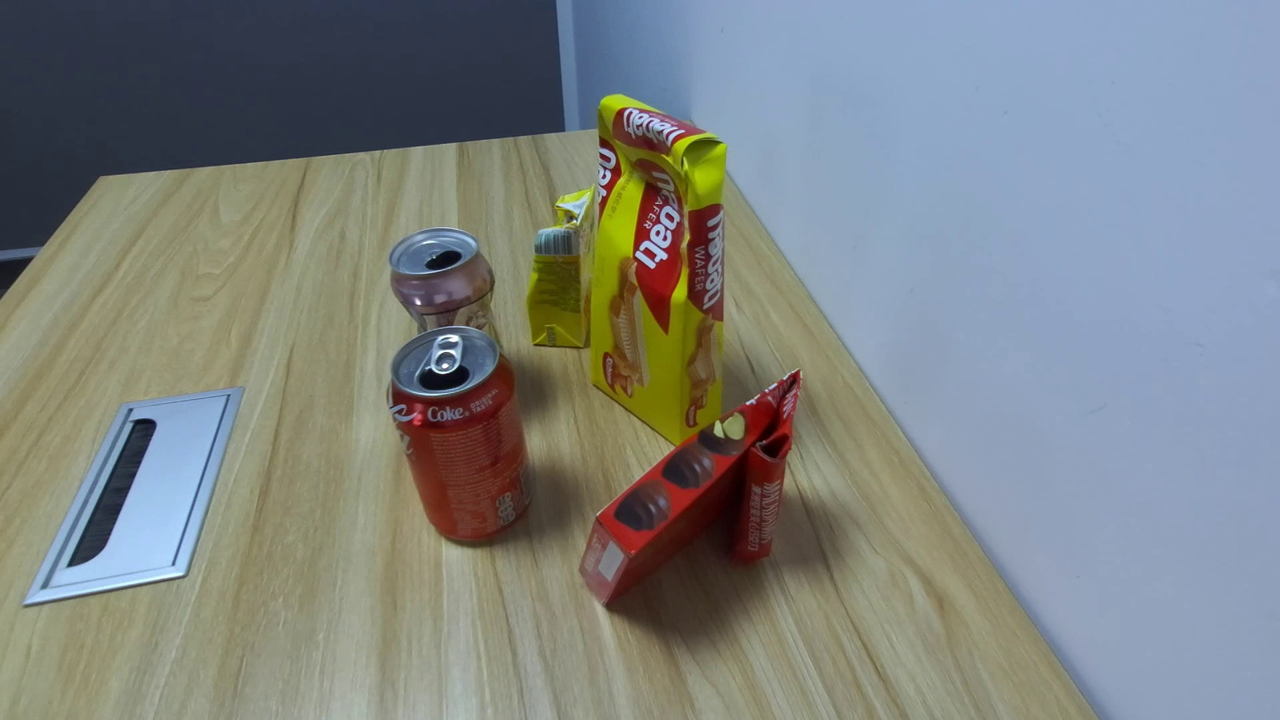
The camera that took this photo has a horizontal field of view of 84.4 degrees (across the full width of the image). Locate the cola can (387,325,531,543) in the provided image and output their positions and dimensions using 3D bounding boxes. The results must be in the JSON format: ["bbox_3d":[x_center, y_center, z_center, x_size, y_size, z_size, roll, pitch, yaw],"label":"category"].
[{"bbox_3d":[-0.100,0.043,0.398,0.068,0.120,0.067,-1,40,1],"label":"cola can"}]

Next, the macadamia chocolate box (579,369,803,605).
[{"bbox_3d":[0.029,0.071,0.365,0.127,0.112,0.056,-23,48,-24],"label":"macadamia chocolate box"}]

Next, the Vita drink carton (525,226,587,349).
[{"bbox_3d":[-0.057,-0.071,0.531,0.046,0.110,0.071,7,41,7],"label":"Vita drink carton"}]

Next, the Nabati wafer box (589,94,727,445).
[{"bbox_3d":[0.007,-0.047,0.431,0.043,0.205,0.113,-31,48,-31],"label":"Nabati wafer box"}]

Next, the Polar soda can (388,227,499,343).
[{"bbox_3d":[-0.127,-0.023,0.474,0.067,0.122,0.074,8,42,7],"label":"Polar soda can"}]
